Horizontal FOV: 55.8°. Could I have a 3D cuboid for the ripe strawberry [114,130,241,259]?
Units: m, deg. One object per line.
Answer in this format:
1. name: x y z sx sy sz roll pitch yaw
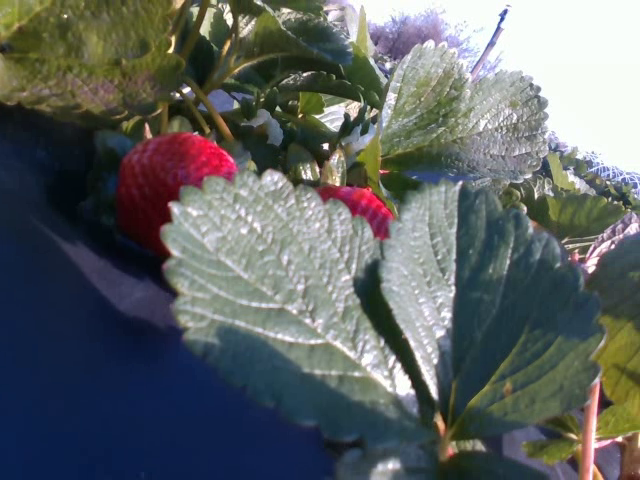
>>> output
1. ripe strawberry: -0.033 -0.011 0.157 0.043 0.037 0.051 -22 30 -33
